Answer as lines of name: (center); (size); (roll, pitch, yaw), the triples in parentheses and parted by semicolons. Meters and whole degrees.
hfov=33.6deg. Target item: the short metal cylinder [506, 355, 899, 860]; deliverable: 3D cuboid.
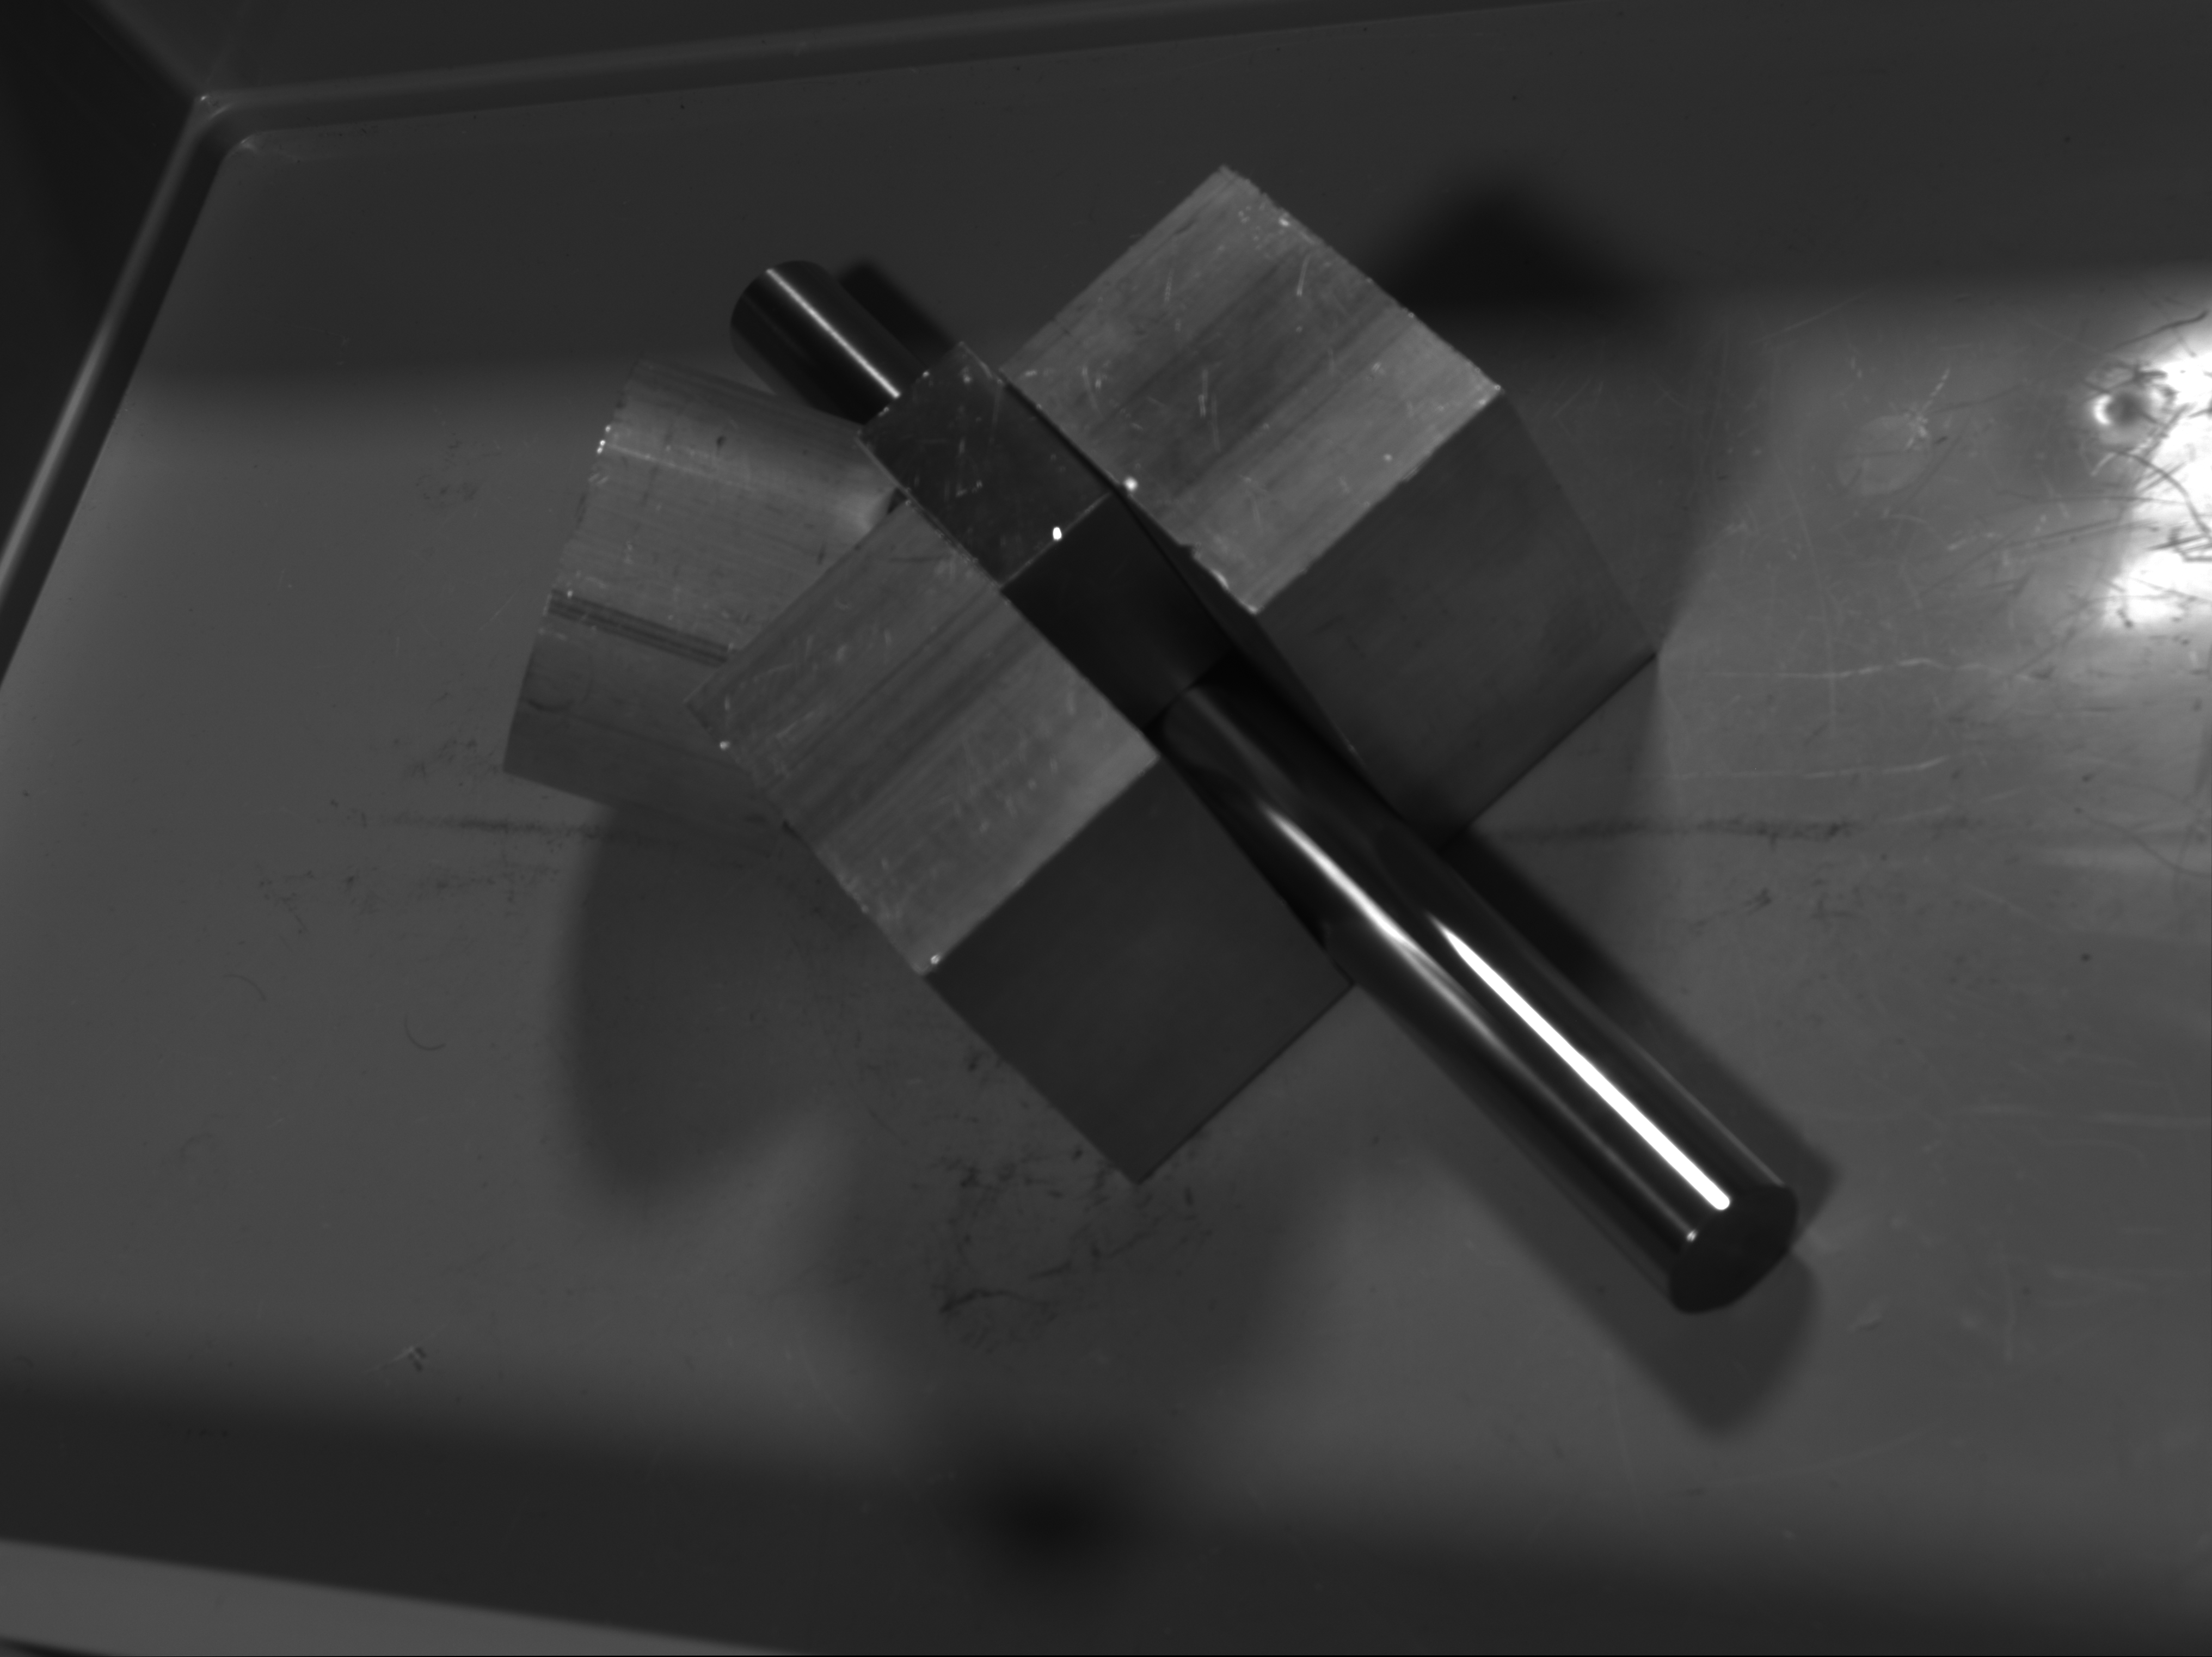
short metal cylinder: (-0.072, -0.040, 0.663); (0.050, 0.080, 0.080); (18, 65, -7)

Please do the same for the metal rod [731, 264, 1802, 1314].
metal rod: (0.015, -0.020, 0.648); (0.025, 0.025, 0.299); (-43, 51, -1)

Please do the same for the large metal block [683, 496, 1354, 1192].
large metal block: (-0.014, 0.003, 0.614); (0.050, 0.080, 0.080); (-43, 51, -1)

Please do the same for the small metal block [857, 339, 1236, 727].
small metal block: (-0.010, -0.050, 0.633); (0.025, 0.050, 0.050); (-42, 51, 0)

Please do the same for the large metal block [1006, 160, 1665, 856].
large metal block: (0.039, -0.054, 0.621); (0.050, 0.080, 0.080); (-42, 51, -1)
